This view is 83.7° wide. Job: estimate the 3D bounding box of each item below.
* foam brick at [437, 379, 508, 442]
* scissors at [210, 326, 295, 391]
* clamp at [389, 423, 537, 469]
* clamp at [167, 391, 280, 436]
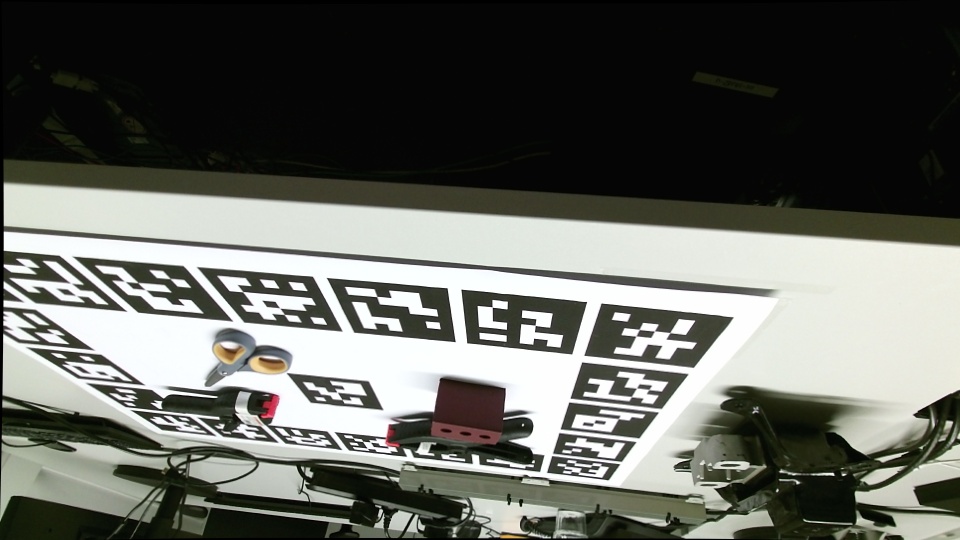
[{"bbox_3d":[-0.010,0.163,0.622,0.078,0.051,0.053,6,142,-4],"label":"foam brick"},{"bbox_3d":[-0.289,0.120,0.638,0.088,0.016,0.203,36,138,-21],"label":"scissors"},{"bbox_3d":[-0.024,0.239,0.736,0.203,0.036,0.166,3,146,8],"label":"clamp"},{"bbox_3d":[-0.349,0.203,0.759,0.165,0.036,0.122,-14,131,26],"label":"clamp"}]
